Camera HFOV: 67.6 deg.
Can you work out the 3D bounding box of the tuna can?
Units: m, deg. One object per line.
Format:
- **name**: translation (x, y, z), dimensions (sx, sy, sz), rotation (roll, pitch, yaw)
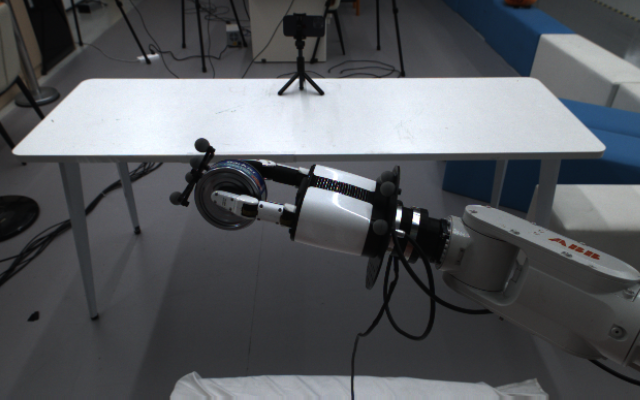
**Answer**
- **tuna can**: translation (-0.108, -0.002, 0.602), dimensions (0.085, 0.085, 0.034), rotation (3, 21, 2)
